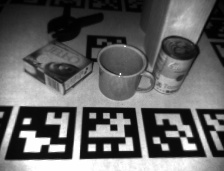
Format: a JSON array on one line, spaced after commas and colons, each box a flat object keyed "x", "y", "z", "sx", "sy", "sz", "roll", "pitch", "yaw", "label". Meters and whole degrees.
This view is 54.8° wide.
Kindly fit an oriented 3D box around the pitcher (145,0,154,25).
[{"x": 0.159, "y": -0.253, "z": 0.519, "sx": 0.189, "sy": 0.244, "sz": 0.132, "roll": -2, "pitch": 49, "yaw": -3, "label": "pitcher"}]

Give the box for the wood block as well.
[{"x": 0.138, "y": -0.150, "z": 0.452, "sx": 0.090, "sy": 0.207, "sz": 0.090, "roll": 0, "pitch": 50, "yaw": -10, "label": "wood block"}]

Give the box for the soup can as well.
[{"x": 0.122, "y": -0.048, "z": 0.434, "sx": 0.068, "sy": 0.102, "sz": 0.067, "roll": 3, "pitch": 53, "yaw": -3, "label": "soup can"}]

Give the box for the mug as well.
[{"x": 0.029, "y": -0.026, "z": 0.421, "sx": 0.116, "sy": 0.082, "sz": 0.094, "roll": 28, "pitch": 51, "yaw": 18, "label": "mug"}]

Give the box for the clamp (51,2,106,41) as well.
[{"x": -0.102, "y": -0.169, "z": 0.561, "sx": 0.121, "sy": 0.036, "sz": 0.165, "roll": 28, "pitch": 53, "yaw": 7, "label": "clamp"}]

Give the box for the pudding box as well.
[{"x": -0.116, "y": -0.048, "z": 0.454, "sx": 0.113, "sy": 0.039, "sz": 0.090, "roll": 30, "pitch": 57, "yaw": 18, "label": "pudding box"}]
